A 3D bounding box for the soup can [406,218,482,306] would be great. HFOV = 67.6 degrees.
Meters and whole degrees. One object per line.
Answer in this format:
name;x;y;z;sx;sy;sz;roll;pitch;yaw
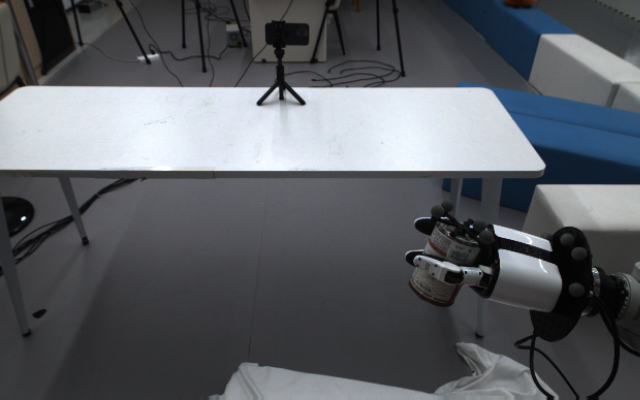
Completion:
soup can;0.174;0.085;0.665;0.067;0.101;0.067;16;21;-7
